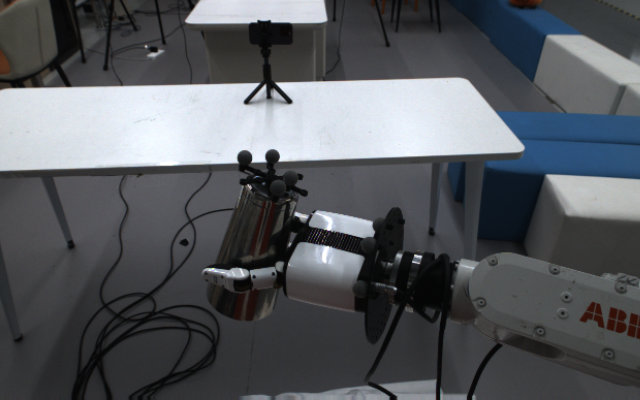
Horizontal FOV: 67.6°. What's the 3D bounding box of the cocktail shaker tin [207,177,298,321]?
[{"bbox_3d":[-0.078,0.053,0.599,0.093,0.170,0.093,15,27,-7],"label":"cocktail shaker tin"}]
